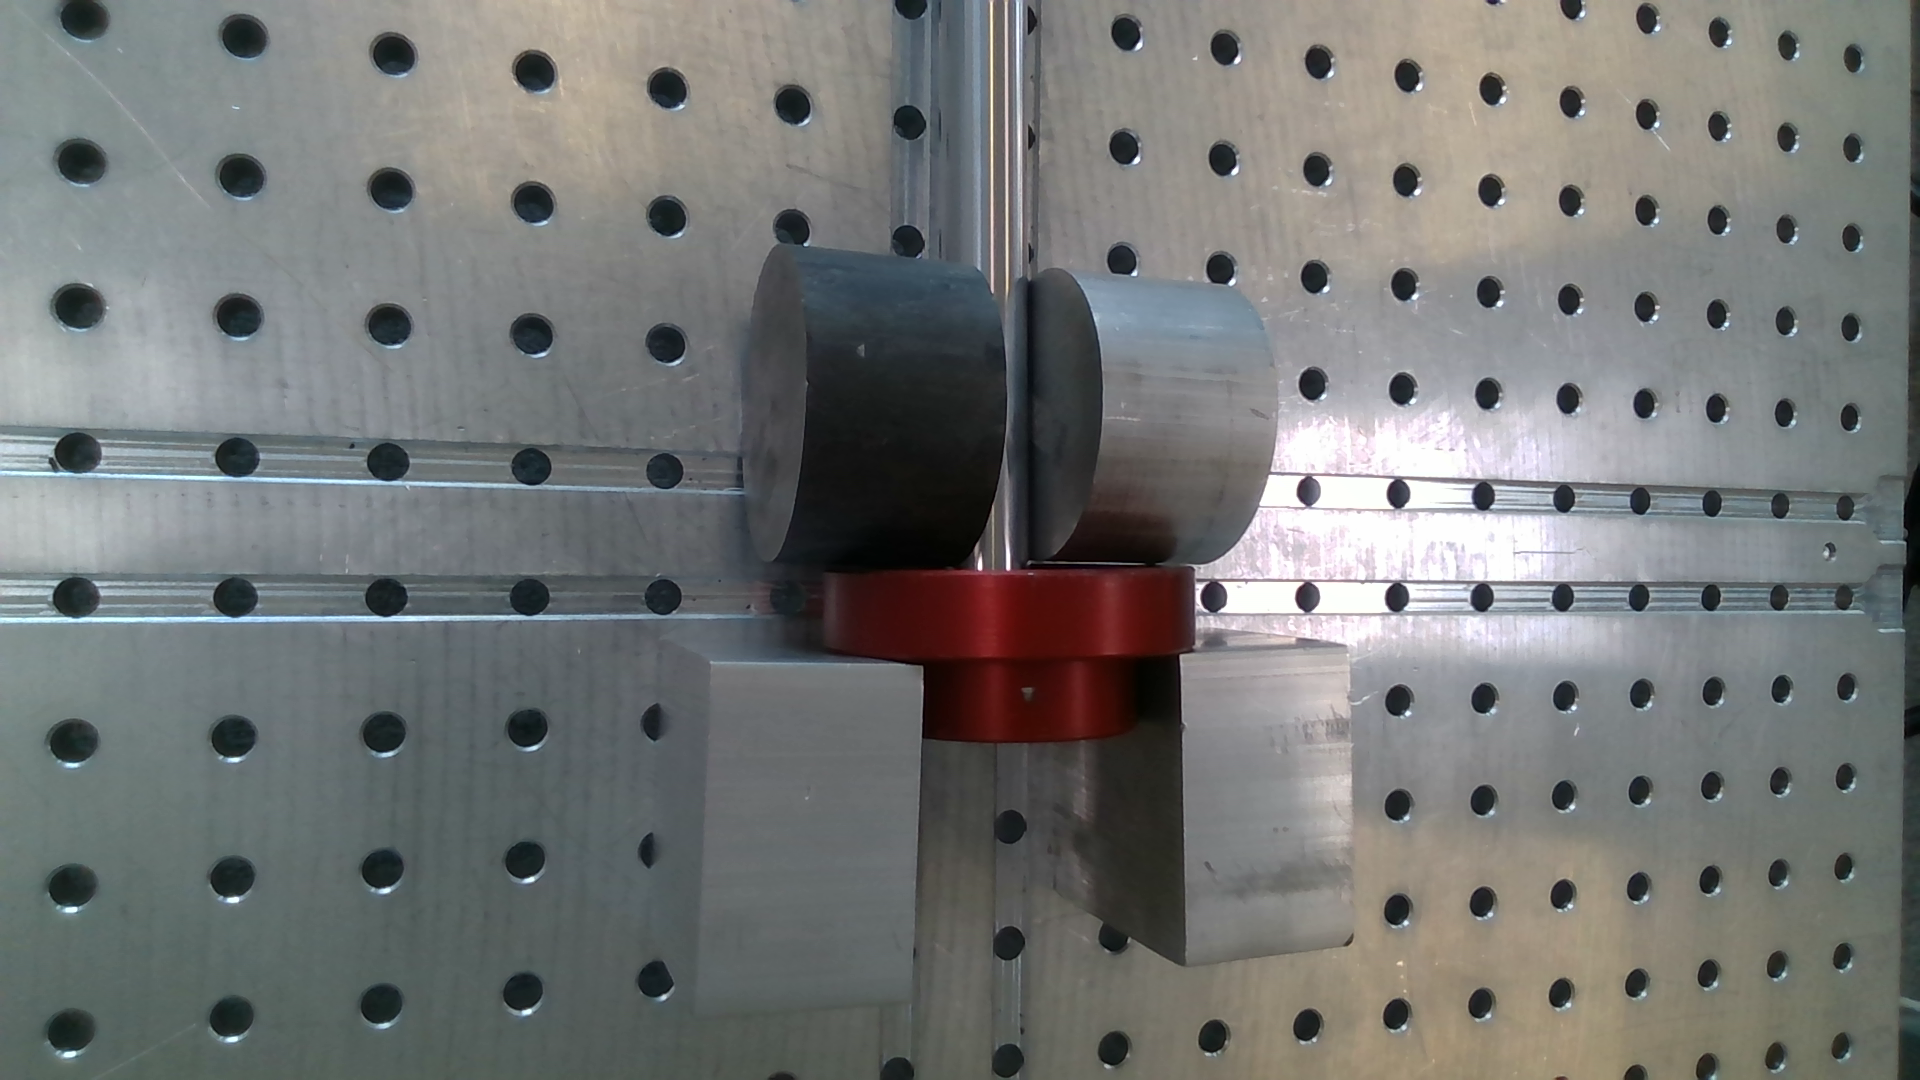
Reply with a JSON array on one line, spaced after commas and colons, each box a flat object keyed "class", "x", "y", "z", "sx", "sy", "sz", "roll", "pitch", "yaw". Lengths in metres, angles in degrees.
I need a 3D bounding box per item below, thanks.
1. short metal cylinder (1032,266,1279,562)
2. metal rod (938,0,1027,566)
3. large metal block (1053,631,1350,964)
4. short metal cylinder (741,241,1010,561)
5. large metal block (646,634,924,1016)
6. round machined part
[{"class": "short metal cylinder", "x": 0.045, "y": -0.034, "z": 0.384, "sx": 0.050, "sy": 0.080, "sz": 0.080, "roll": 1, "pitch": 90, "yaw": -20}, {"class": "metal rod", "x": 0.006, "y": -0.116, "z": 0.386, "sx": 0.025, "sy": 0.025, "sz": 0.300, "roll": 2, "pitch": 85, "yaw": -20}, {"class": "large metal block", "x": 0.066, "y": 0.067, "z": 0.392, "sx": 0.050, "sy": 0.080, "sz": 0.080, "roll": 0, "pitch": 90, "yaw": -20}, {"class": "short metal cylinder", "x": -0.025, "y": -0.034, "z": 0.357, "sx": 0.050, "sy": 0.080, "sz": 0.080, "roll": 1, "pitch": 90, "yaw": -20}, {"class": "large metal block", "x": -0.047, "y": 0.067, "z": 0.351, "sx": 0.050, "sy": 0.080, "sz": 0.080, "roll": 3, "pitch": 89, "yaw": -20}, {"class": "round machined part", "x": 0.013, "y": 0.028, "z": 0.362, "sx": 0.098, "sy": 0.098, "sz": 0.042, "roll": 1, "pitch": 90, "yaw": -20}]
